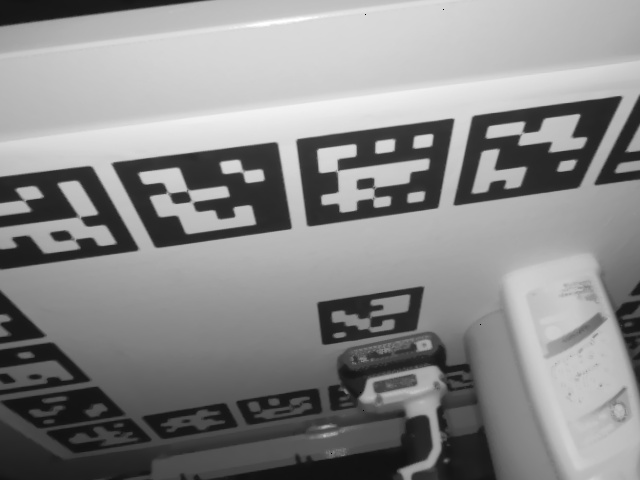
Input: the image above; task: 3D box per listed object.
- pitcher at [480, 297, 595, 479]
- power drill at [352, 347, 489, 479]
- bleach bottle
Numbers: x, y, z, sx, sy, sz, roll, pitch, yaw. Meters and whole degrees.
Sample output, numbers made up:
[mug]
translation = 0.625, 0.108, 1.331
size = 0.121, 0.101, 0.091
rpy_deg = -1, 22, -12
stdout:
[pitcher]
translation = 0.240, 0.169, 0.638
size = 0.187, 0.244, 0.134
rpy_deg = -27, 138, 20
[power drill]
translation = 0.075, 0.200, 0.653
size = 0.184, 0.188, 0.057
rpy_deg = -8, 140, 7
[bleach bottle]
translation = 0.243, 0.123, 0.545
size = 0.102, 0.252, 0.067
rpy_deg = -14, 142, 5
